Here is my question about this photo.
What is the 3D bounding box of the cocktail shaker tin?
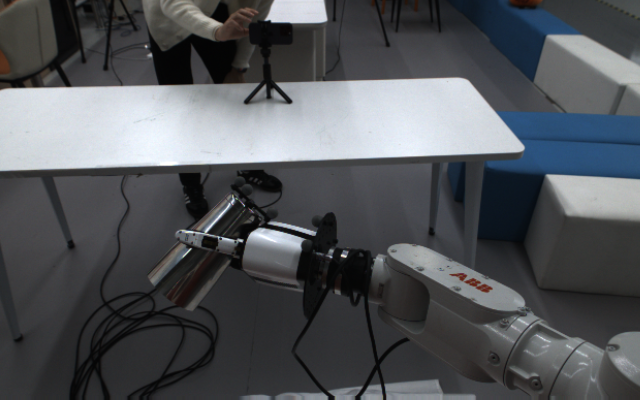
[{"bbox_3d":[-0.168,0.072,0.734,0.170,0.093,0.093,-48,49,-3],"label":"cocktail shaker tin"}]
